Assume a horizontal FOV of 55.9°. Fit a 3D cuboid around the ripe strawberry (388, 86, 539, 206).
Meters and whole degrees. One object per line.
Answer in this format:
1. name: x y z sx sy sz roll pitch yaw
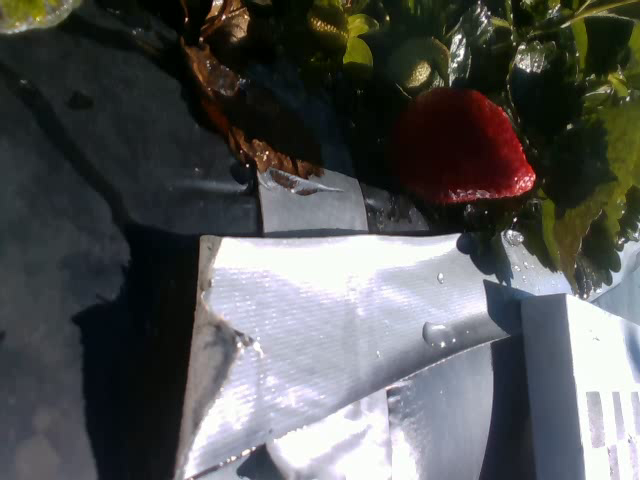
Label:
1. ripe strawberry: 0.062 -0.028 0.234 0.057 0.062 0.065 -36 33 -2
